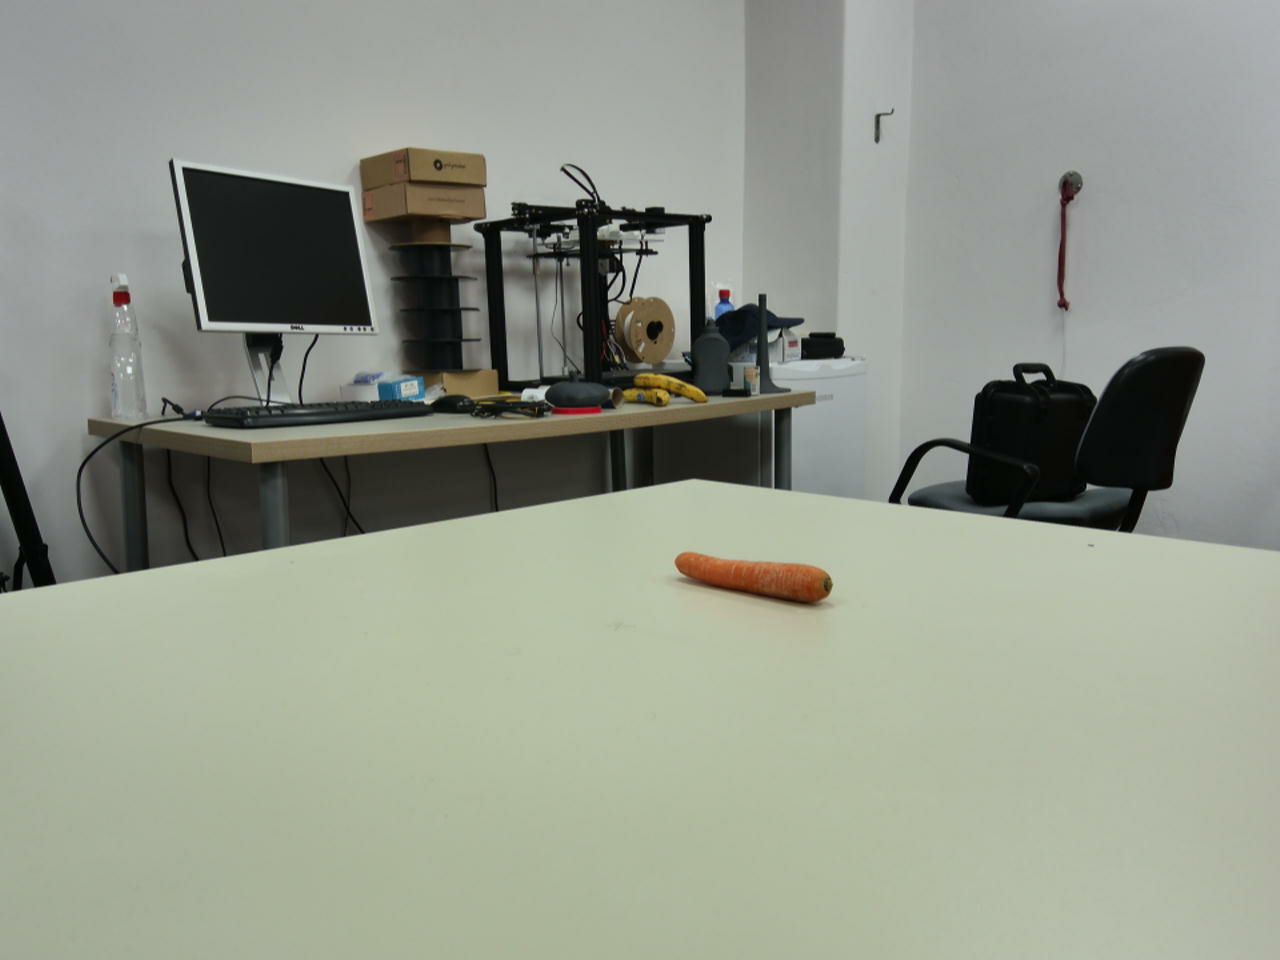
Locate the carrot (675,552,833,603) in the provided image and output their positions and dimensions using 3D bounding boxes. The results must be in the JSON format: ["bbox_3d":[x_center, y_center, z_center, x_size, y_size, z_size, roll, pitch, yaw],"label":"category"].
[{"bbox_3d":[0.070,0.061,0.647,0.122,0.023,0.024,7,9,43],"label":"carrot"}]
